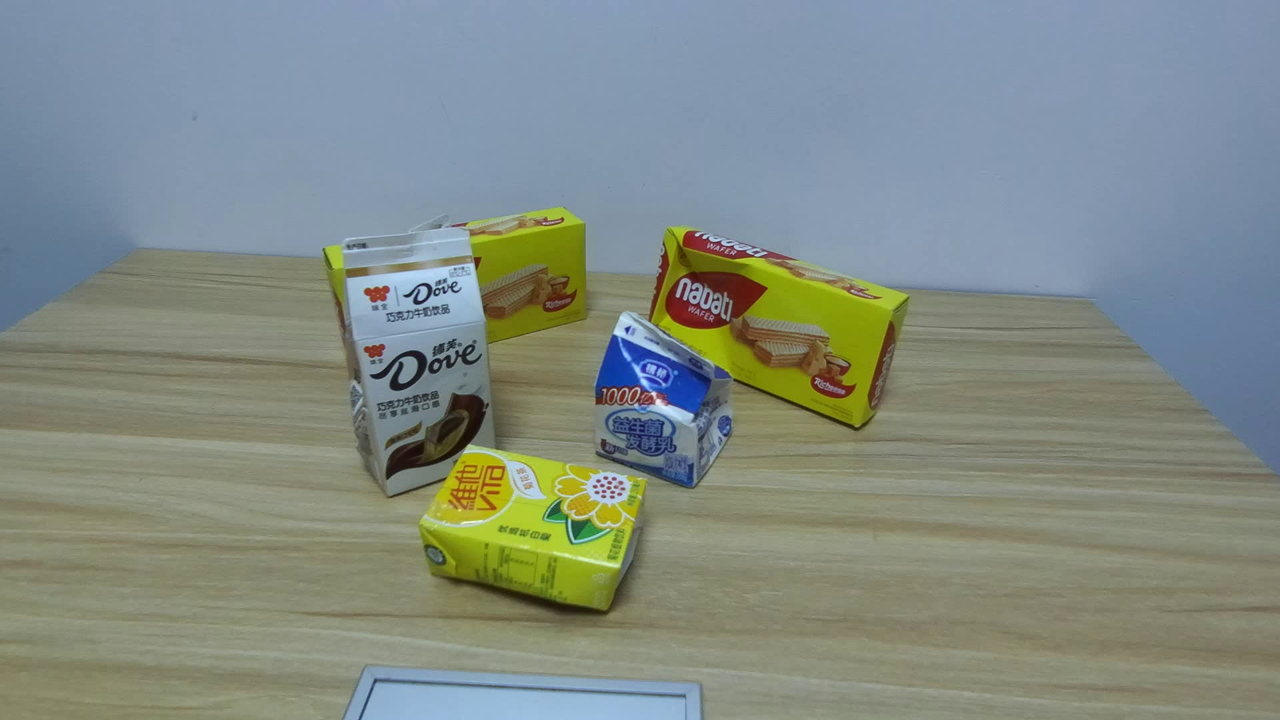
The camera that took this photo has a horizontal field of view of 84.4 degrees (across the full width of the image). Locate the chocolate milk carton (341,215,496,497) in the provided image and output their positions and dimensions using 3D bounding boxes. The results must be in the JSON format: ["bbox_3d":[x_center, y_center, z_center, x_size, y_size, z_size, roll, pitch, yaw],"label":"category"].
[{"bbox_3d":[-0.141,-0.005,0.433,0.084,0.155,0.072,-17,38,-28],"label":"chocolate milk carton"}]

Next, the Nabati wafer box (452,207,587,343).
[{"bbox_3d":[-0.141,-0.060,0.581,0.203,0.093,0.042,-15,34,-25],"label":"Nabati wafer box"}]

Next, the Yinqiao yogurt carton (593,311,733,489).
[{"bbox_3d":[0.016,0.017,0.463,0.083,0.093,0.077,17,35,22],"label":"Yinqiao yogurt carton"}]

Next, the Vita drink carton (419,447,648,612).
[{"bbox_3d":[-0.057,0.094,0.388,0.108,0.043,0.076,10,38,9],"label":"Vita drink carton"}]

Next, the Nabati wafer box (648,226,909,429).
[{"bbox_3d":[0.094,-0.031,0.545,0.202,0.096,0.042,24,28,29],"label":"Nabati wafer box"}]
